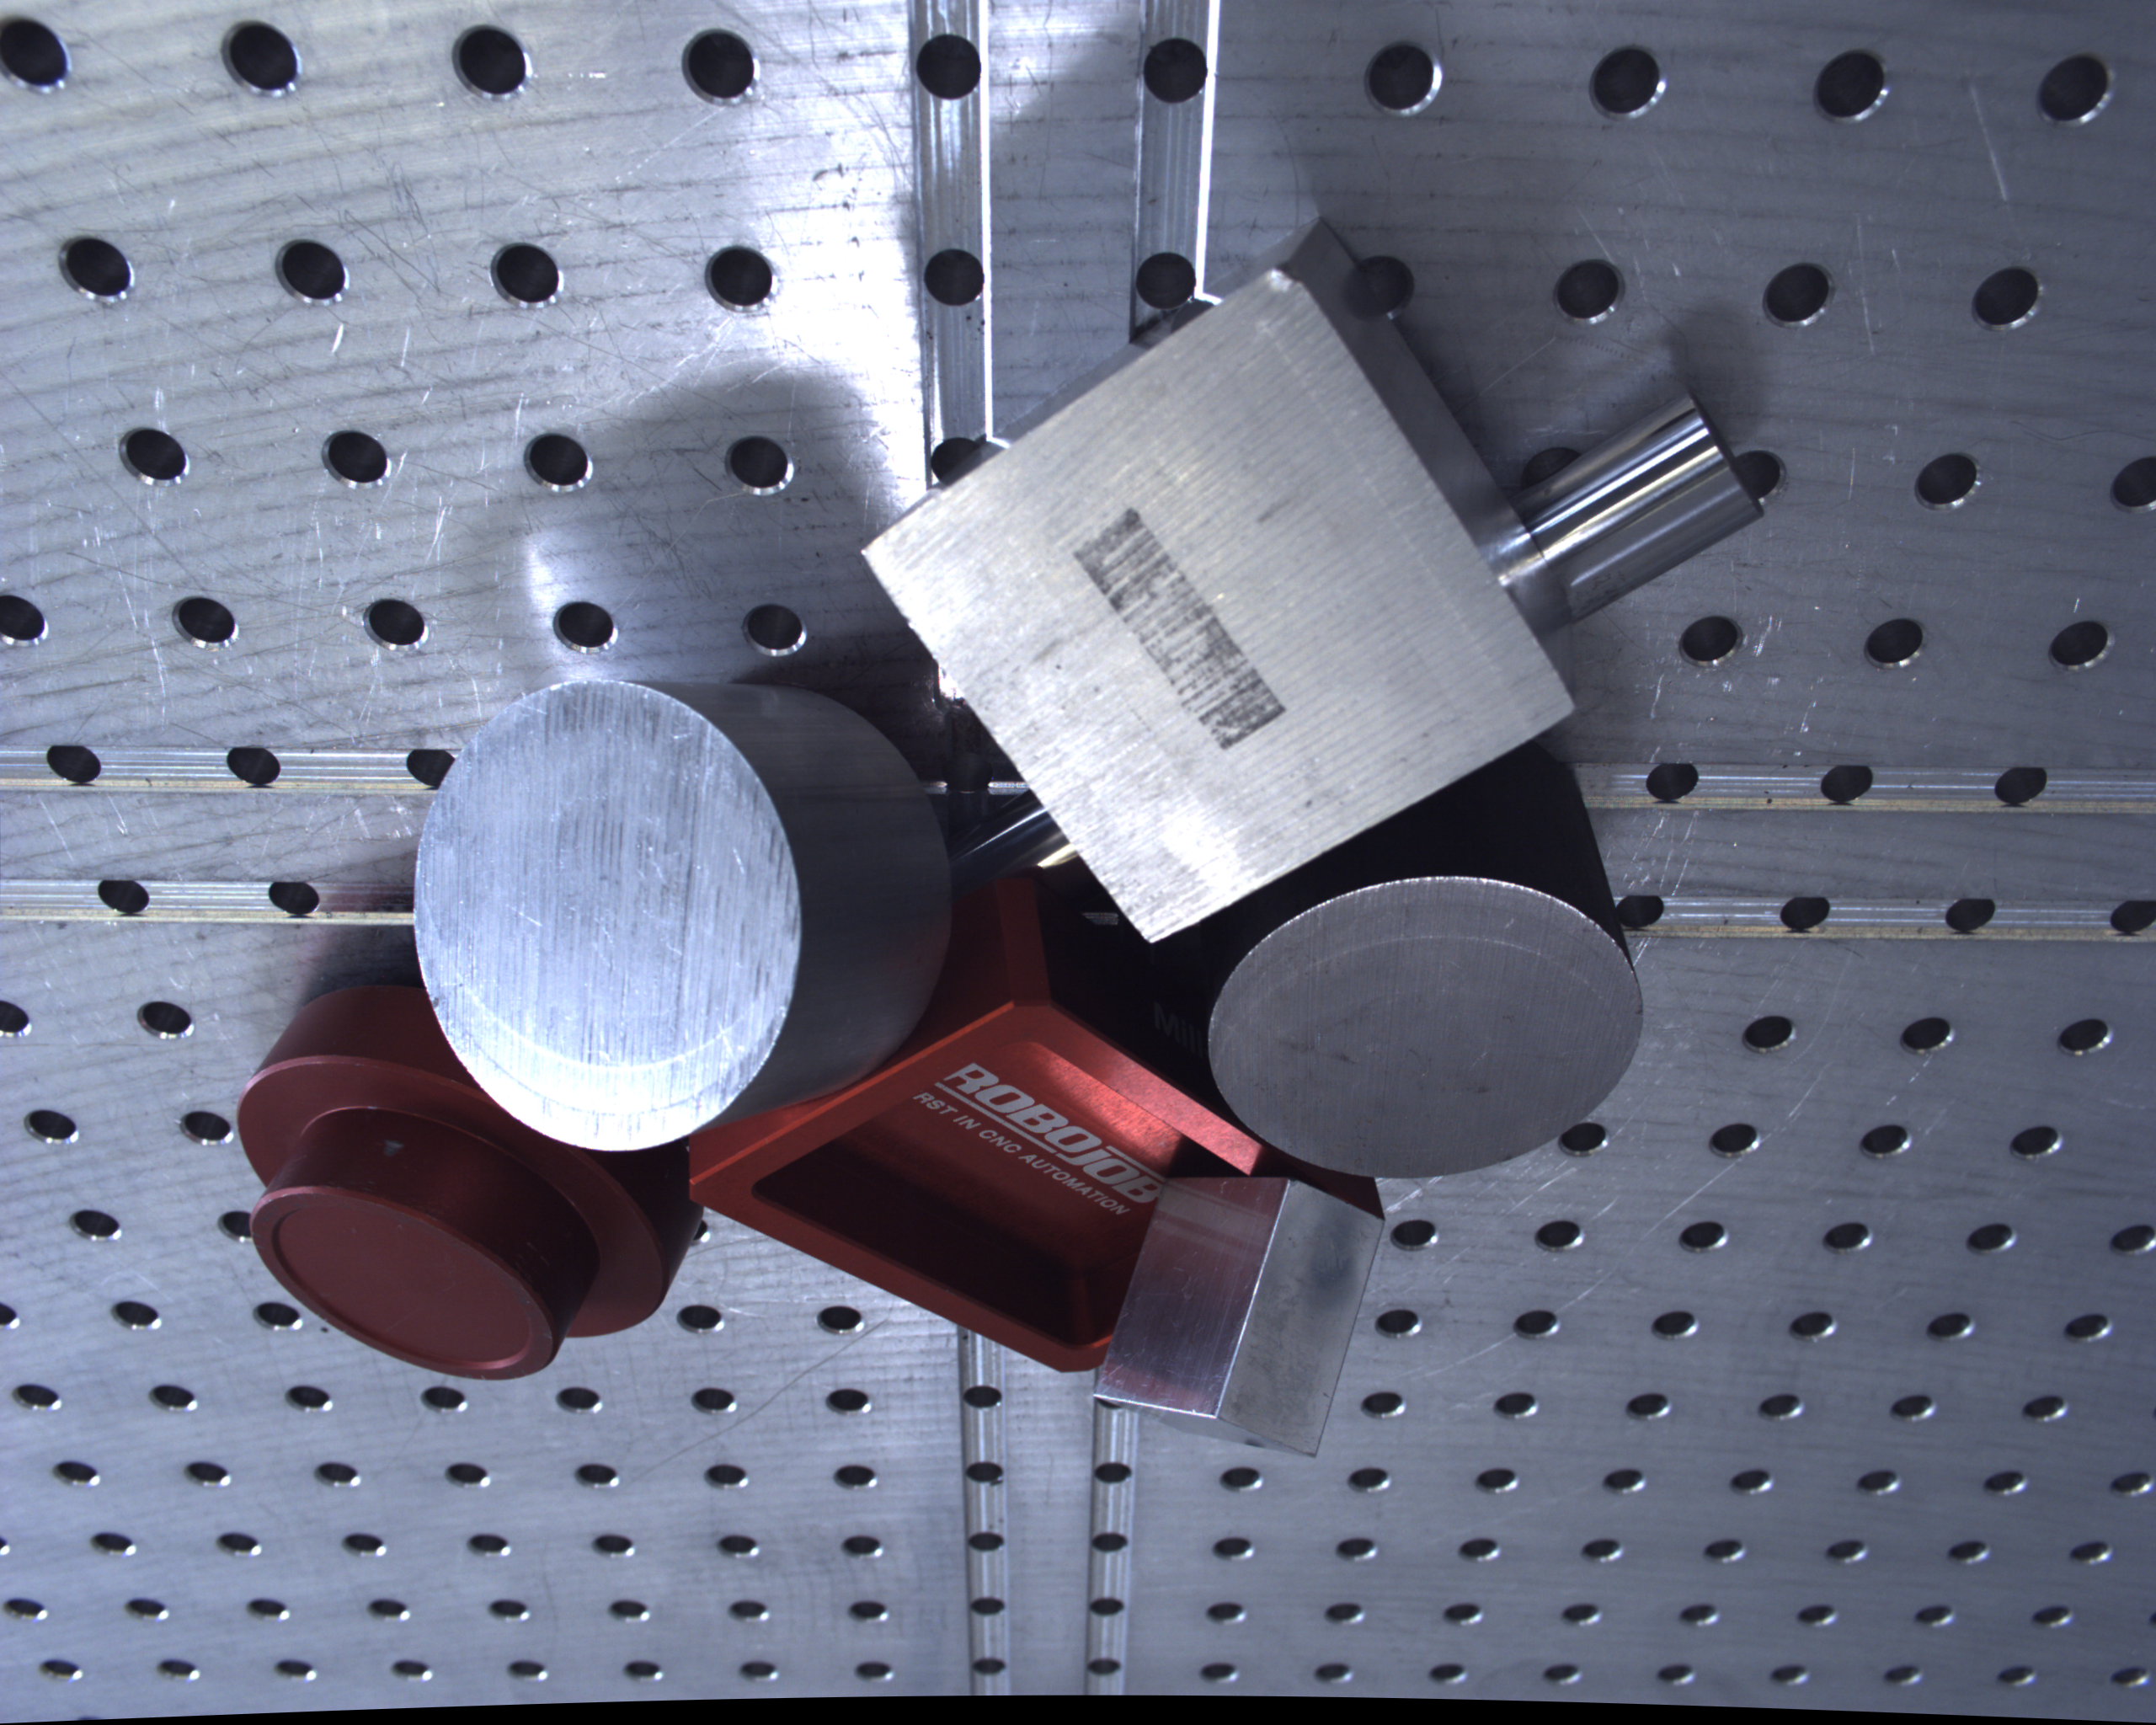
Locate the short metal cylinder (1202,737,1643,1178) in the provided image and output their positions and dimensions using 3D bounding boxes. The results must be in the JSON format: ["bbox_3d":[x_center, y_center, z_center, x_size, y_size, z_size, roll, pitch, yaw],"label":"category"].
[{"bbox_3d":[0.065,0.017,0.409,0.081,0.050,0.079,0,130,0],"label":"short metal cylinder"}]

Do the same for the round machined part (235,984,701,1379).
[{"bbox_3d":[-0.134,0.074,0.445,0.098,0.042,0.097,11,137,11],"label":"round machined part"}]

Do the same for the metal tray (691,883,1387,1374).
[{"bbox_3d":[-0.006,0.062,0.442,0.090,0.030,0.130,-30,137,23],"label":"metal tray"}]

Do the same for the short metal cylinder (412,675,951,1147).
[{"bbox_3d":[-0.070,0.007,0.373,0.080,0.050,0.079,2,94,25],"label":"short metal cylinder"}]

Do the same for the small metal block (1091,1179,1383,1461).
[{"bbox_3d":[0.033,0.094,0.437,0.025,0.050,0.050,27,160,-23],"label":"small metal block"}]

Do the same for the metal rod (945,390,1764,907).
[{"bbox_3d":[-0.009,-0.001,0.413,0.300,0.025,0.025,-30,124,23],"label":"metal rod"}]

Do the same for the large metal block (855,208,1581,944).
[{"bbox_3d":[0.025,-0.046,0.341,0.080,0.050,0.080,-30,105,23],"label":"large metal block"}]
